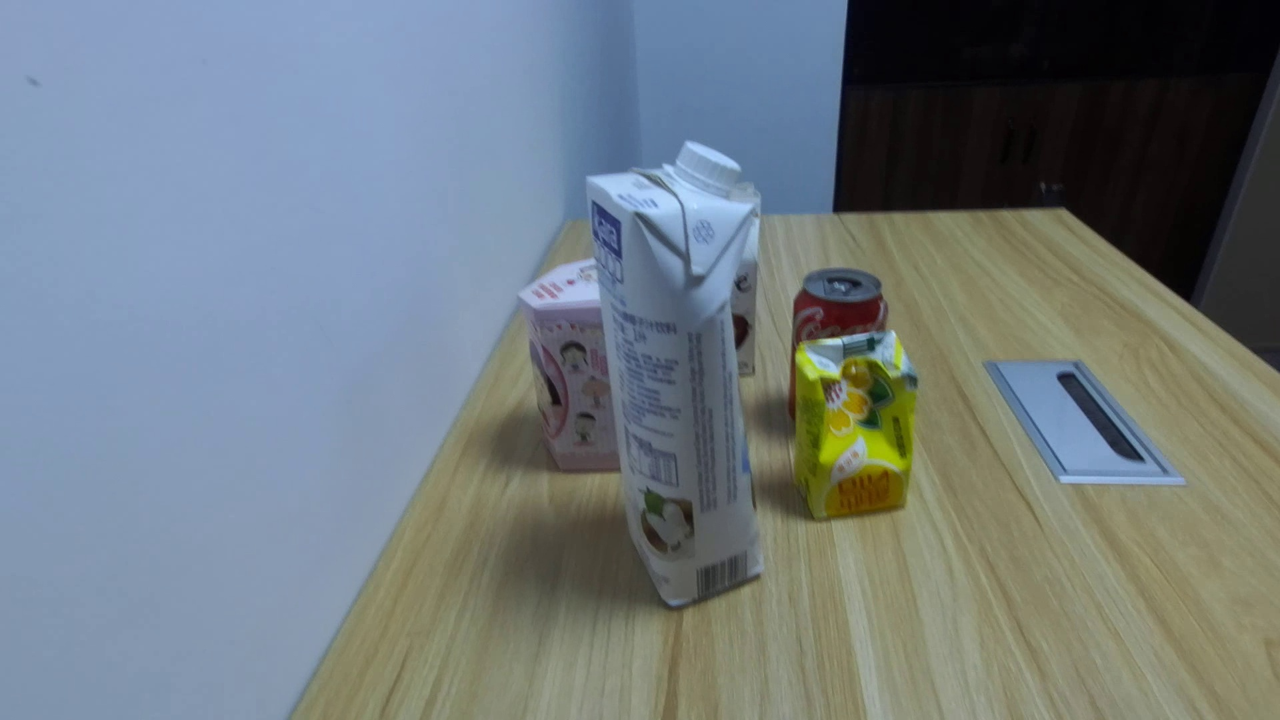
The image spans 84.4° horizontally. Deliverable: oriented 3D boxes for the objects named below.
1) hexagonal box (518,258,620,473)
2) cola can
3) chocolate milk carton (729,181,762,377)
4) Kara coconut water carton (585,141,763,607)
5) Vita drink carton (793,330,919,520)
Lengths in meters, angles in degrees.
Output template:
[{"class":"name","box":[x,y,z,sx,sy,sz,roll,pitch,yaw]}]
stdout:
[{"class":"hexagonal box","box":[-0.035,0.002,0.521,0.085,0.135,0.091,-16,33,-18]},{"class":"cola can","box":[0.146,-0.006,0.525,0.068,0.120,0.068,-2,32,2]},{"class":"chocolate milk carton","box":[0.059,-0.068,0.607,0.084,0.155,0.073,-2,25,2]},{"class":"Kara coconut water carton","box":[0.022,0.012,0.381,0.071,0.244,0.099,-14,31,-17]},{"class":"Vita drink carton","box":[0.137,0.043,0.449,0.071,0.110,0.046,-8,28,-5]}]
